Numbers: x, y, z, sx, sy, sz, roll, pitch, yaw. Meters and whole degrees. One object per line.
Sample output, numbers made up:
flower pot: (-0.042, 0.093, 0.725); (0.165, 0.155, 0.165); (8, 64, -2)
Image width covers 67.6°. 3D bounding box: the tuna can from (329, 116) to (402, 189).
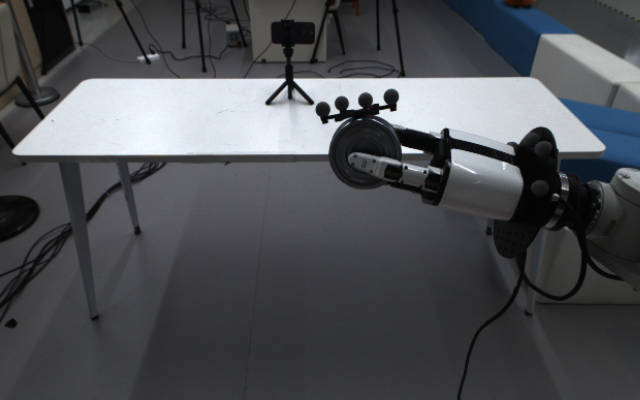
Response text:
tuna can: (0.058, -0.051, 0.571); (0.085, 0.085, 0.034); (6, 18, 5)
